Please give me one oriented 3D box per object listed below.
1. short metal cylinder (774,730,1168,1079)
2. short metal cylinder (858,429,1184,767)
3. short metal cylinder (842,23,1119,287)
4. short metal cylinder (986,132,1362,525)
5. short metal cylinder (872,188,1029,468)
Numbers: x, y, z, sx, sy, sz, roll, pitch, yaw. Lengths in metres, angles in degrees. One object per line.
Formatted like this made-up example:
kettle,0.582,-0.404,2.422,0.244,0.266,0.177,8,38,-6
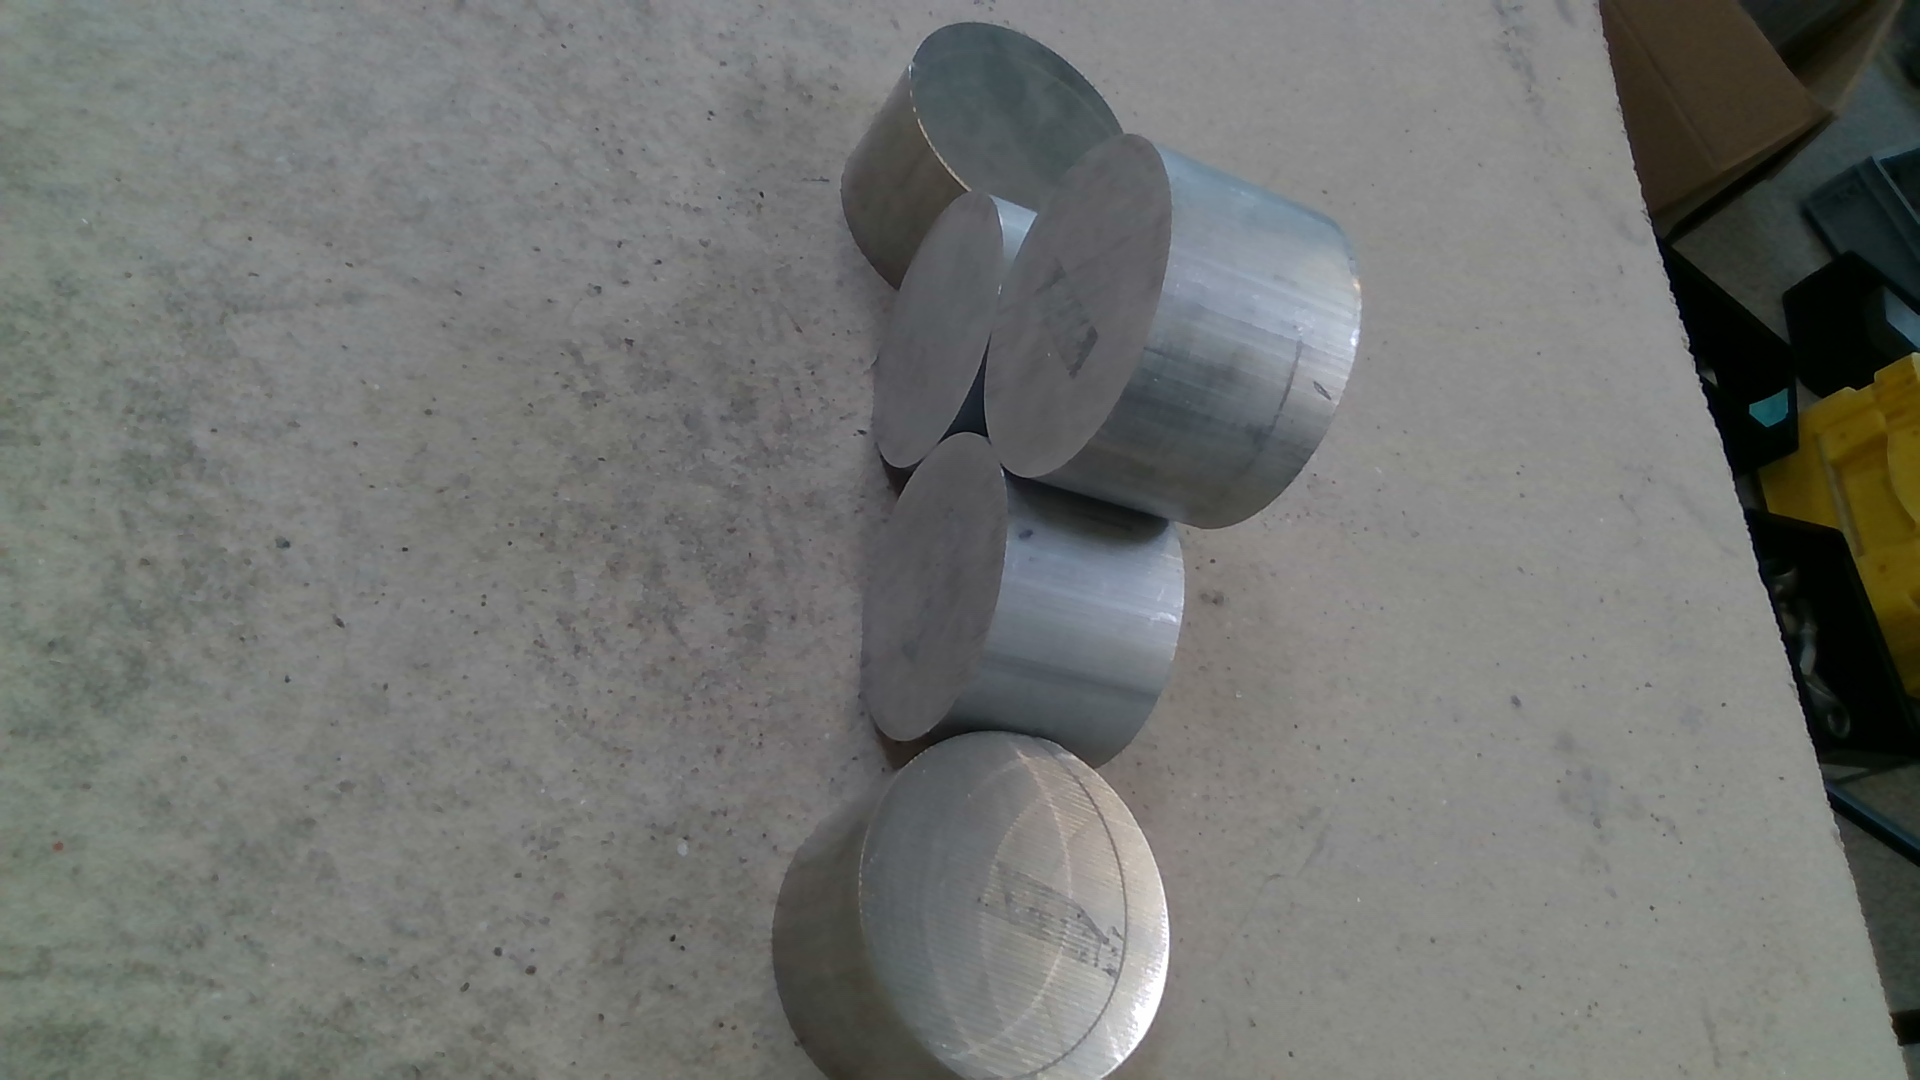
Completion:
short metal cylinder,0.002,0.092,0.329,0.080,0.050,0.080,14,59,-25
short metal cylinder,0.014,0.016,0.358,0.050,0.080,0.080,15,58,-25
short metal cylinder,0.008,-0.118,0.445,0.080,0.050,0.080,14,59,-25
short metal cylinder,0.047,-0.048,0.323,0.050,0.080,0.080,14,59,-24
short metal cylinder,0.014,-0.054,0.395,0.050,0.080,0.080,14,59,-25
